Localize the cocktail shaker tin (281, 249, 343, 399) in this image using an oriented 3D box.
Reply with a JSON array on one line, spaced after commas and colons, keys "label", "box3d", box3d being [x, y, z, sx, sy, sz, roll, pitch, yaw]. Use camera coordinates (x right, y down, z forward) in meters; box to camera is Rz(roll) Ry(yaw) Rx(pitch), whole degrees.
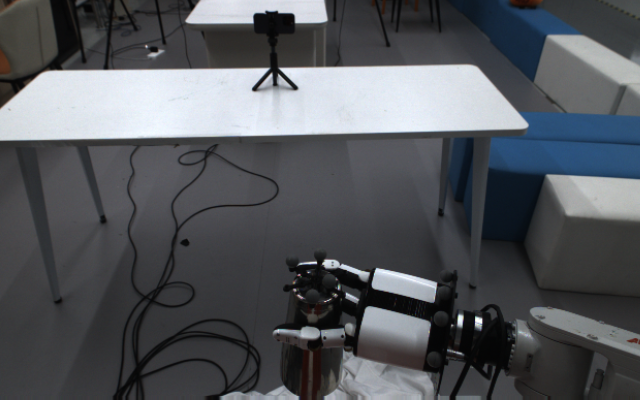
[{"label": "cocktail shaker tin", "box3d": [-0.007, 0.177, 0.666, 0.093, 0.170, 0.093, 3, 33, -2]}]
